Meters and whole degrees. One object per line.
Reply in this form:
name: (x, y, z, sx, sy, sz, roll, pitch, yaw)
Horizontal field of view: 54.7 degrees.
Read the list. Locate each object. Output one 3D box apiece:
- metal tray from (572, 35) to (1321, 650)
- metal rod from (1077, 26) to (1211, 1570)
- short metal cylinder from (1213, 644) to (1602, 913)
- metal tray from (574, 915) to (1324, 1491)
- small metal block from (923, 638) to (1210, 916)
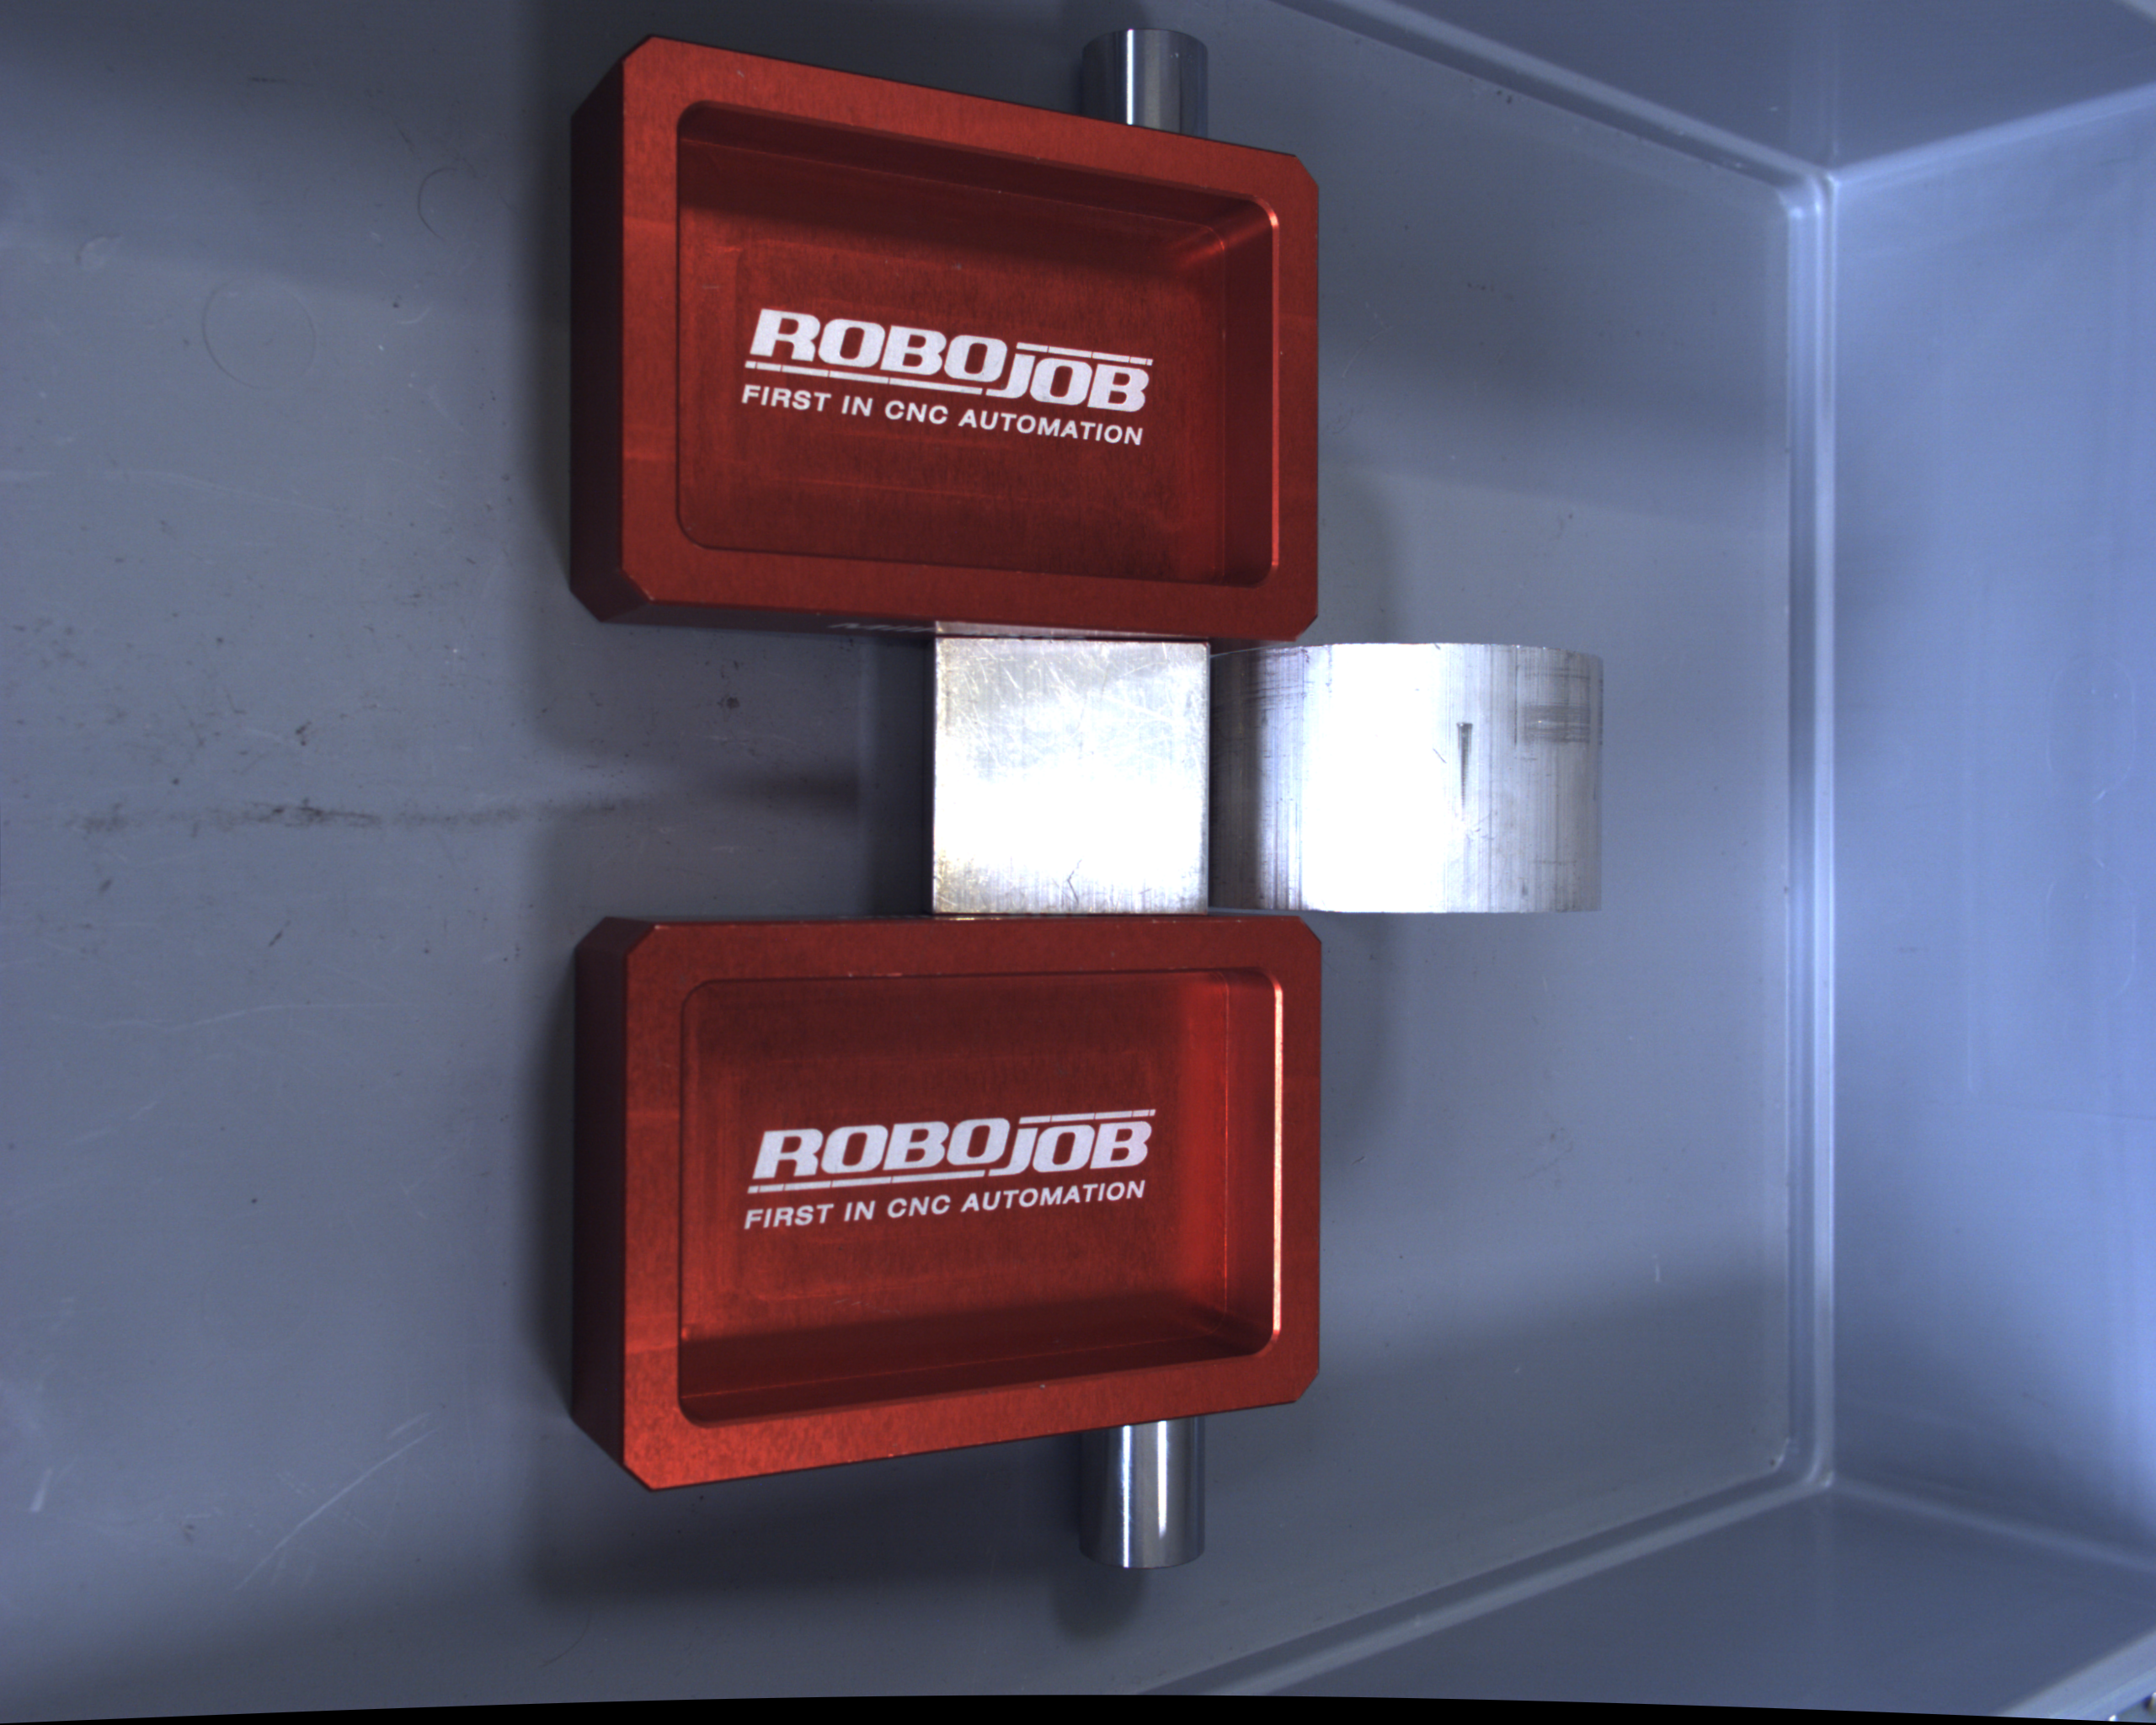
metal tray: (-0.020, -0.085, 0.366, 0.131, 0.030, 0.089, 0, 90, -28)
metal rod: (0.013, -0.013, 0.415, 0.025, 0.025, 0.298, 0, 90, -40)
short metal cylinder: (0.065, -0.016, 0.424, 0.081, 0.080, 0.050, 0, 90, -40)
metal tray: (-0.019, 0.054, 0.367, 0.131, 0.030, 0.089, 0, 90, -28)
small metal block: (-0.003, -0.015, 0.388, 0.050, 0.025, 0.050, 1, 90, -9)
